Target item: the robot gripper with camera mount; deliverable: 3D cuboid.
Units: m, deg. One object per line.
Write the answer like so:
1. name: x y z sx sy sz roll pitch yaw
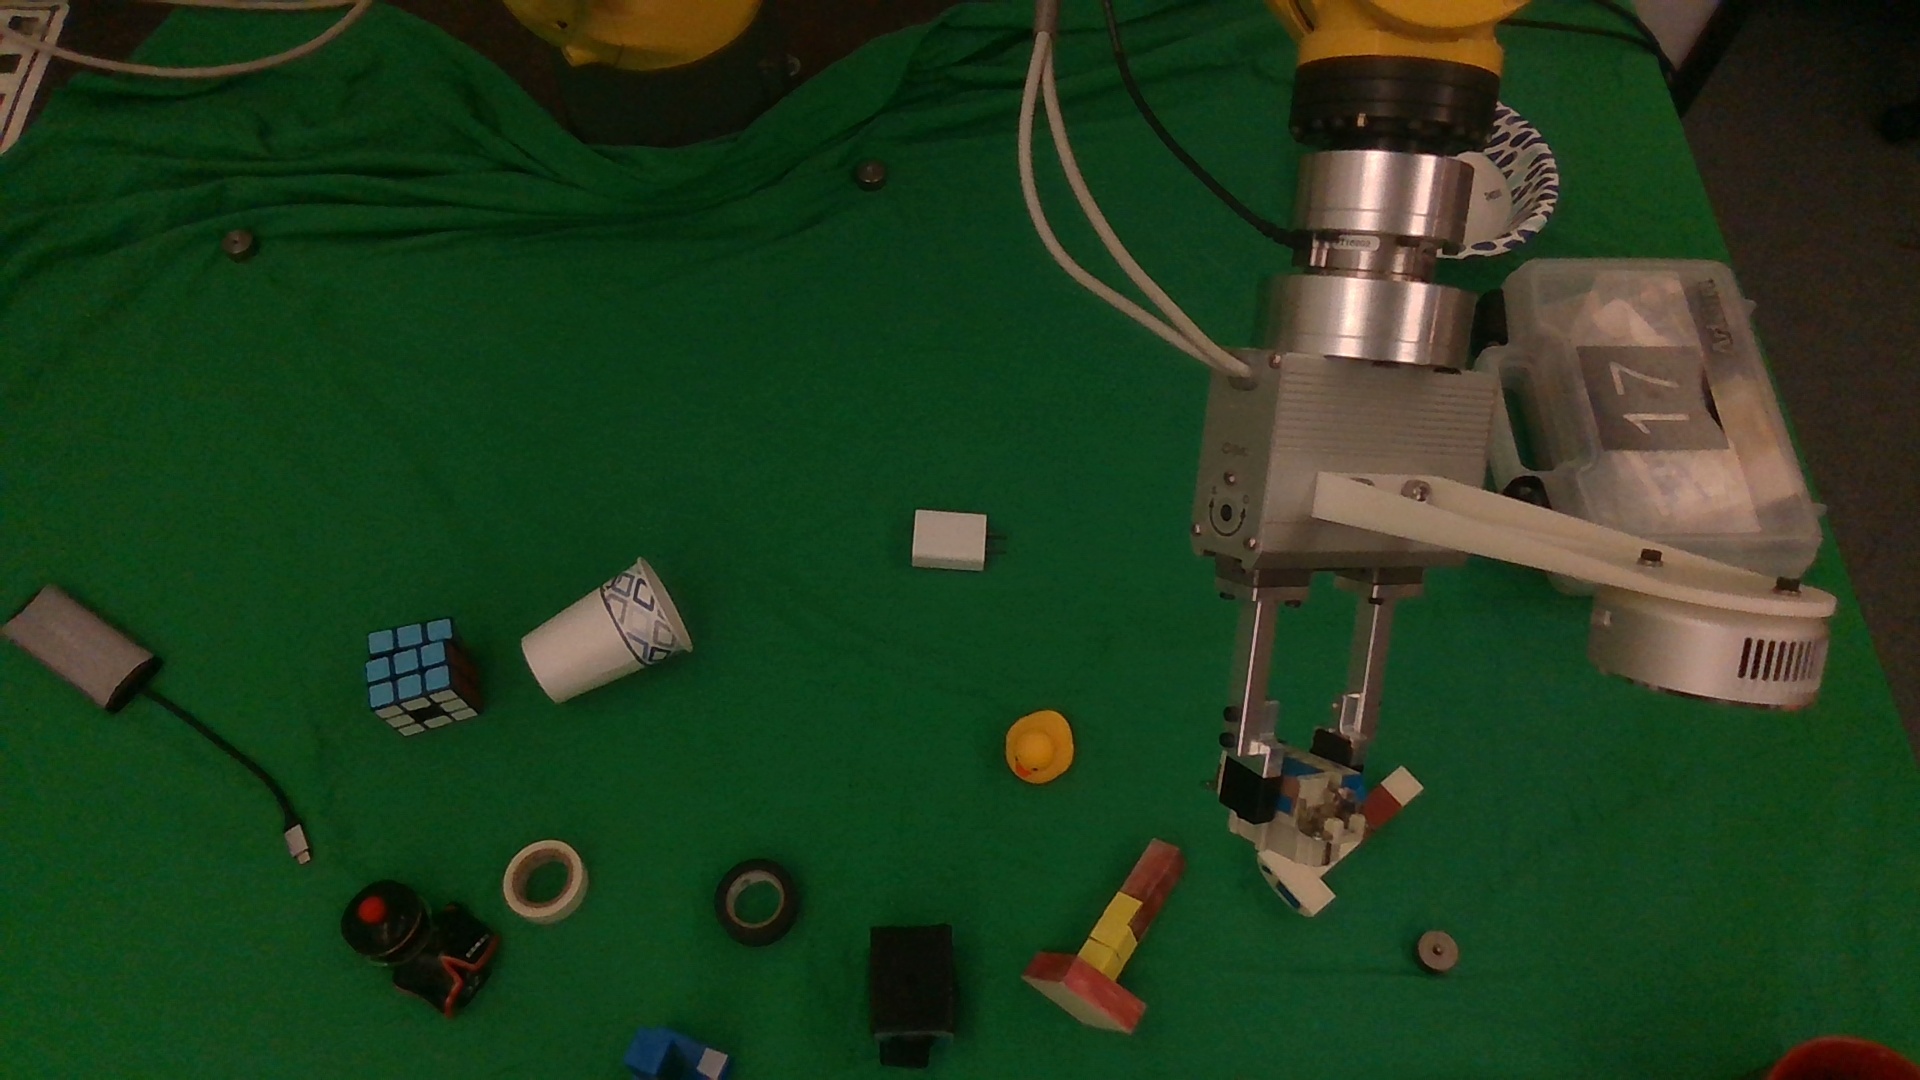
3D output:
1. robot gripper with camera mount: 0.182 0.046 0.459 0.118 0.194 0.158 -1 100 -34

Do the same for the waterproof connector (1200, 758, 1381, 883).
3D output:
1. waterproof connector: 0.126 0.107 0.535 0.034 0.065 0.037 0 99 -38
